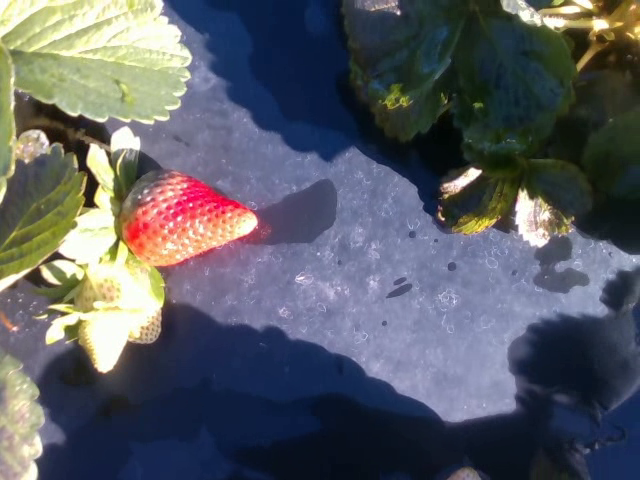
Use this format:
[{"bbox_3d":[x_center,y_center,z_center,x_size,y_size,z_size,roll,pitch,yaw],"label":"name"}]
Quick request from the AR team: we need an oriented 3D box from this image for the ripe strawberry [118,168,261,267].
[{"bbox_3d":[-0.054,-0.010,0.260,0.064,0.050,0.052,-1,35,7],"label":"ripe strawberry"}]
